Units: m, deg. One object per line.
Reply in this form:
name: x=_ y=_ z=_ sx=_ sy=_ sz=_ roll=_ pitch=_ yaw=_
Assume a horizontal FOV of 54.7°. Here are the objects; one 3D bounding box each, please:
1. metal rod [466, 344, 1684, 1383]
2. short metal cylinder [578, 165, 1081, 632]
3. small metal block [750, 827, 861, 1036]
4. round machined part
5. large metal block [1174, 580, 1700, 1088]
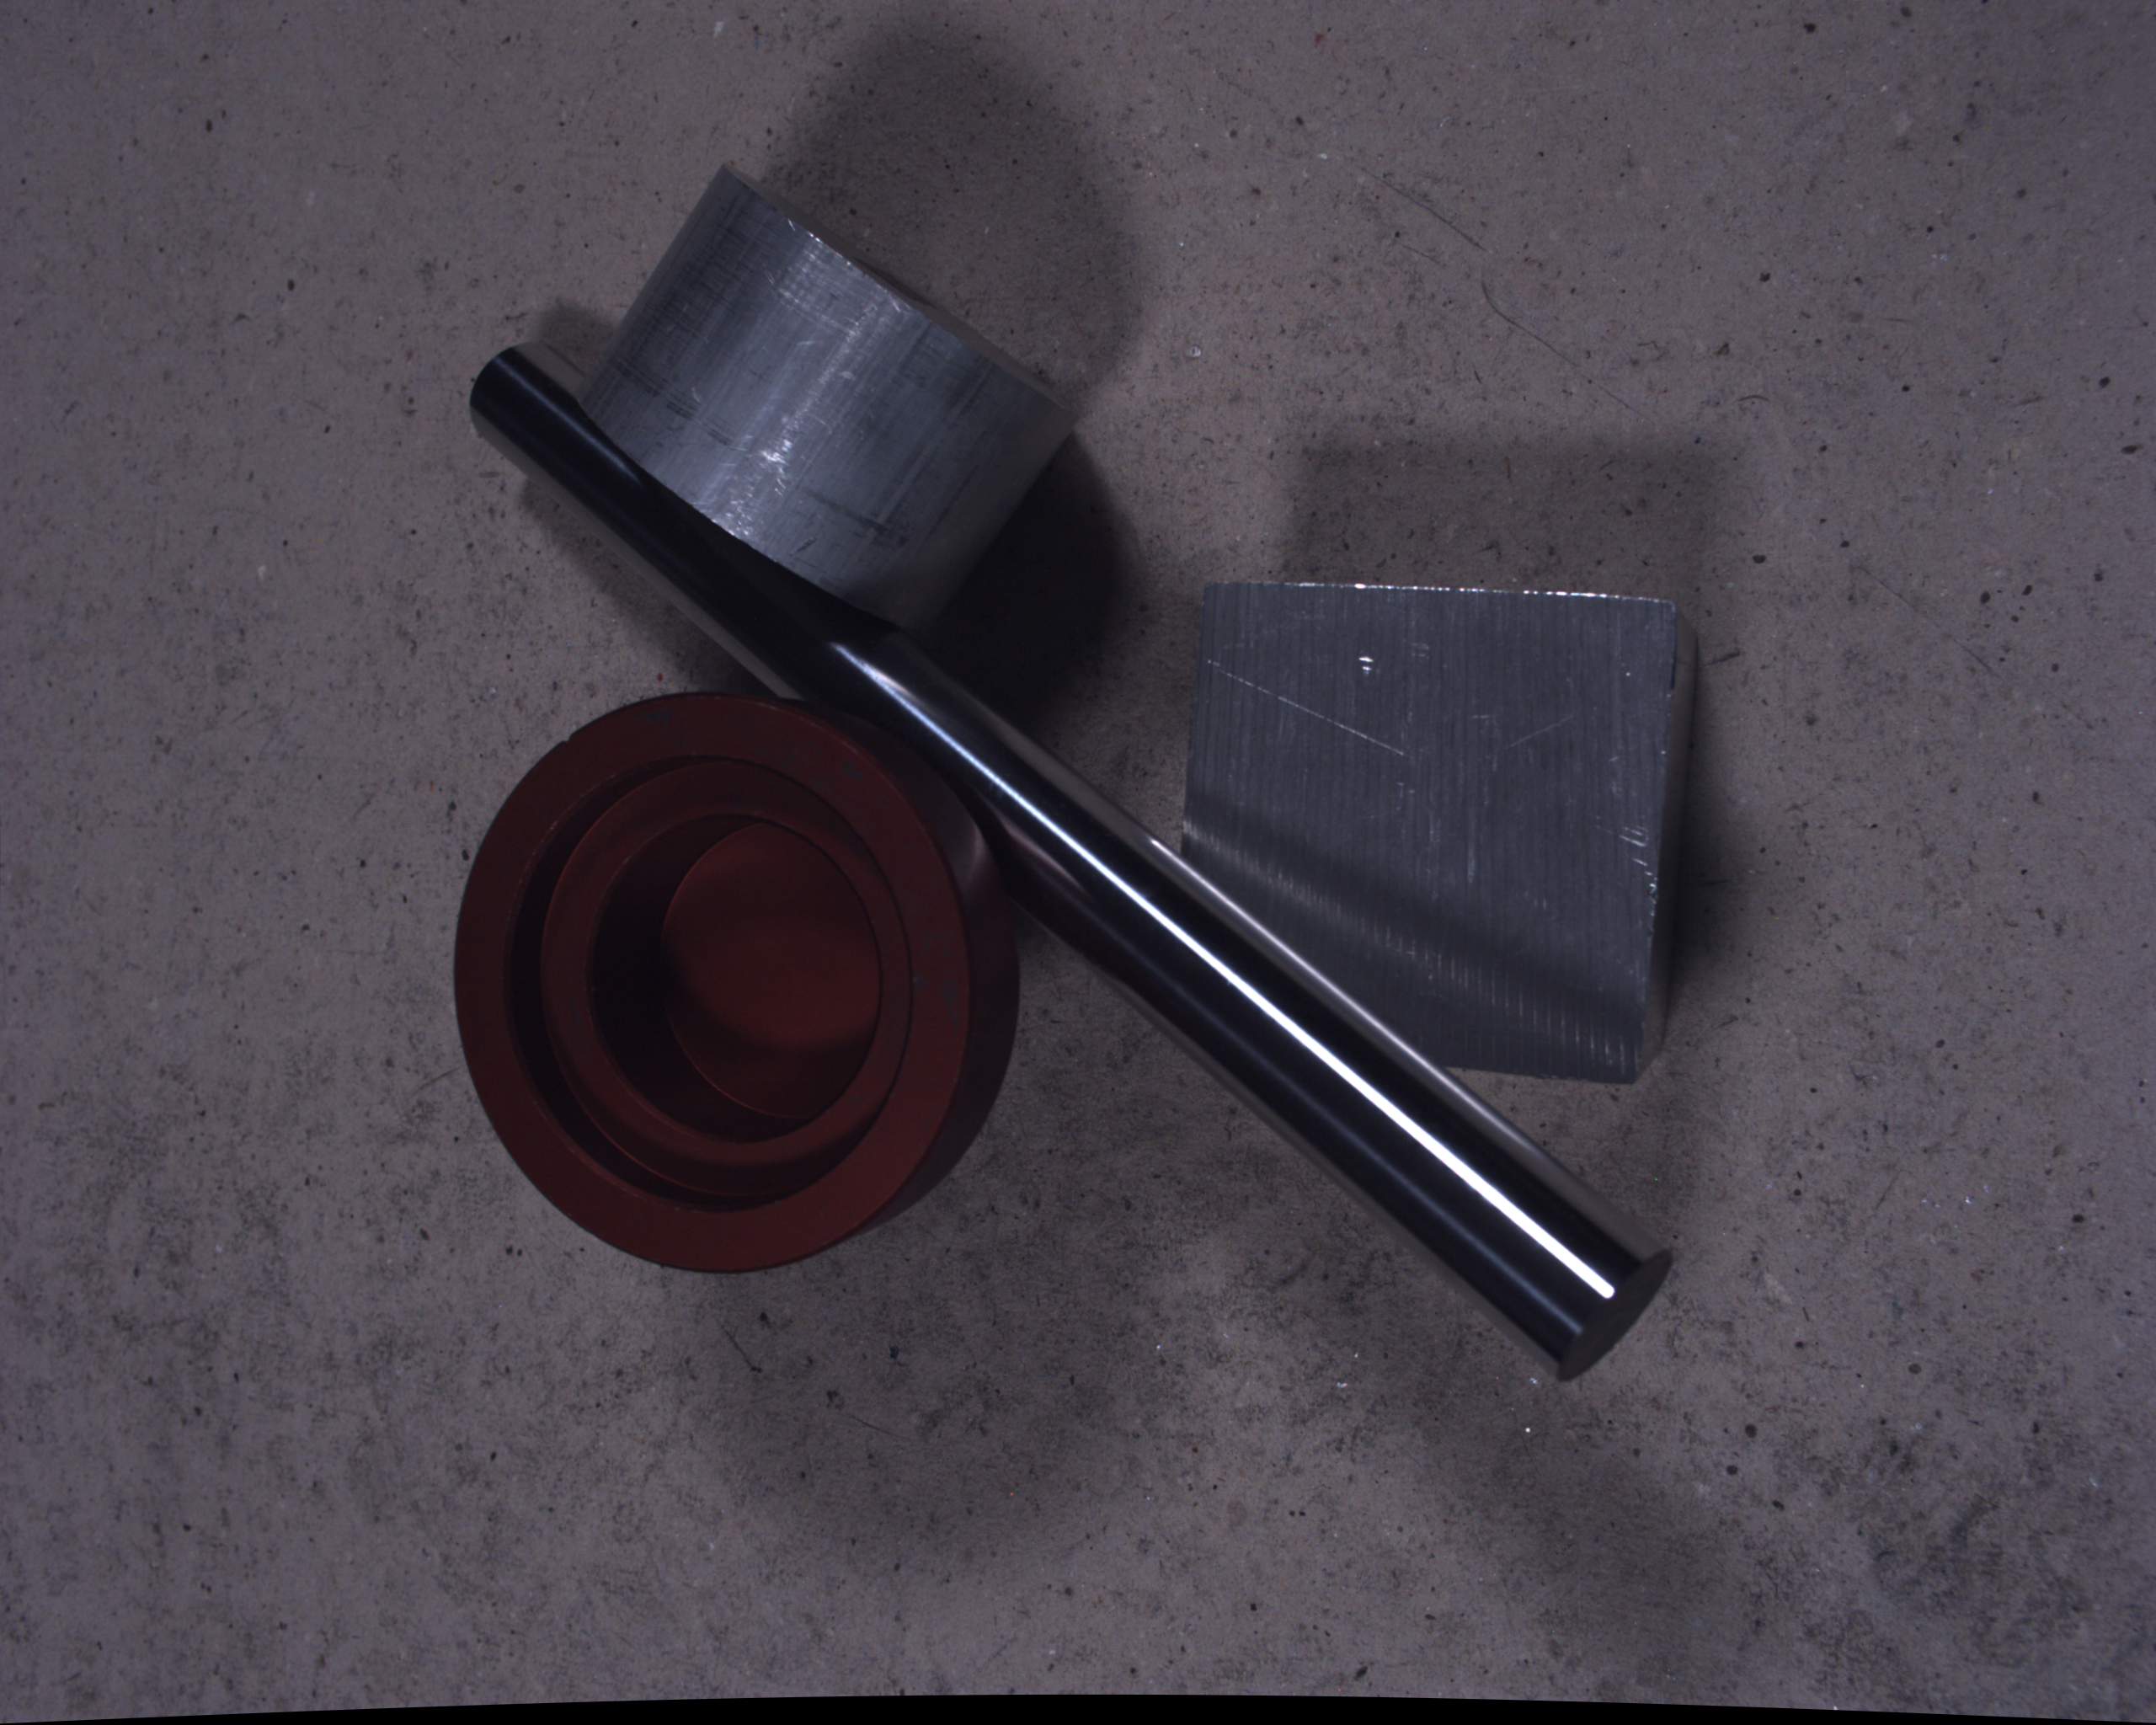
metal rod: x=-0.021 y=-0.017 z=0.377 sx=0.300 sy=0.025 sz=0.025 roll=40 pitch=103 yaw=30
short metal cylinder: x=-0.047 y=-0.088 z=0.396 sx=0.080 sy=0.080 sz=0.050 roll=39 pitch=102 yaw=15
small metal block: x=-0.044 y=0.007 z=0.412 sx=0.025 sy=0.050 sz=0.050 roll=-2 pitch=89 yaw=20
round machined part: x=-0.056 y=0.020 z=0.367 sx=0.098 sy=0.042 sz=0.097 roll=1 pitch=92 yaw=19
large metal block: x=0.065 y=-0.006 z=0.374 sx=0.080 sy=0.050 sz=0.079 roll=5 pitch=92 yaw=19
